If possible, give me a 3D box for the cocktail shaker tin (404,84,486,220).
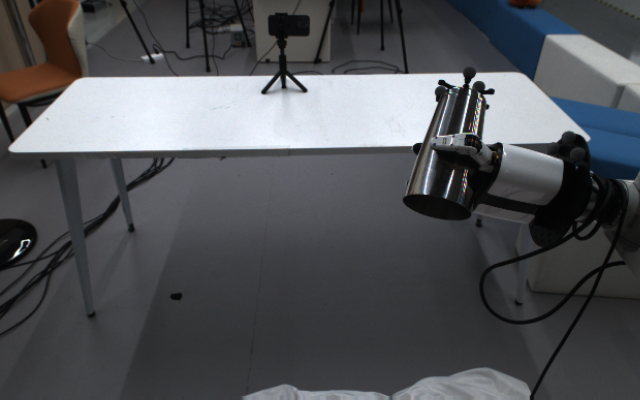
[{"bbox_3d":[0.182,-0.067,0.673,0.093,0.093,0.170,13,74,16],"label":"cocktail shaker tin"}]
